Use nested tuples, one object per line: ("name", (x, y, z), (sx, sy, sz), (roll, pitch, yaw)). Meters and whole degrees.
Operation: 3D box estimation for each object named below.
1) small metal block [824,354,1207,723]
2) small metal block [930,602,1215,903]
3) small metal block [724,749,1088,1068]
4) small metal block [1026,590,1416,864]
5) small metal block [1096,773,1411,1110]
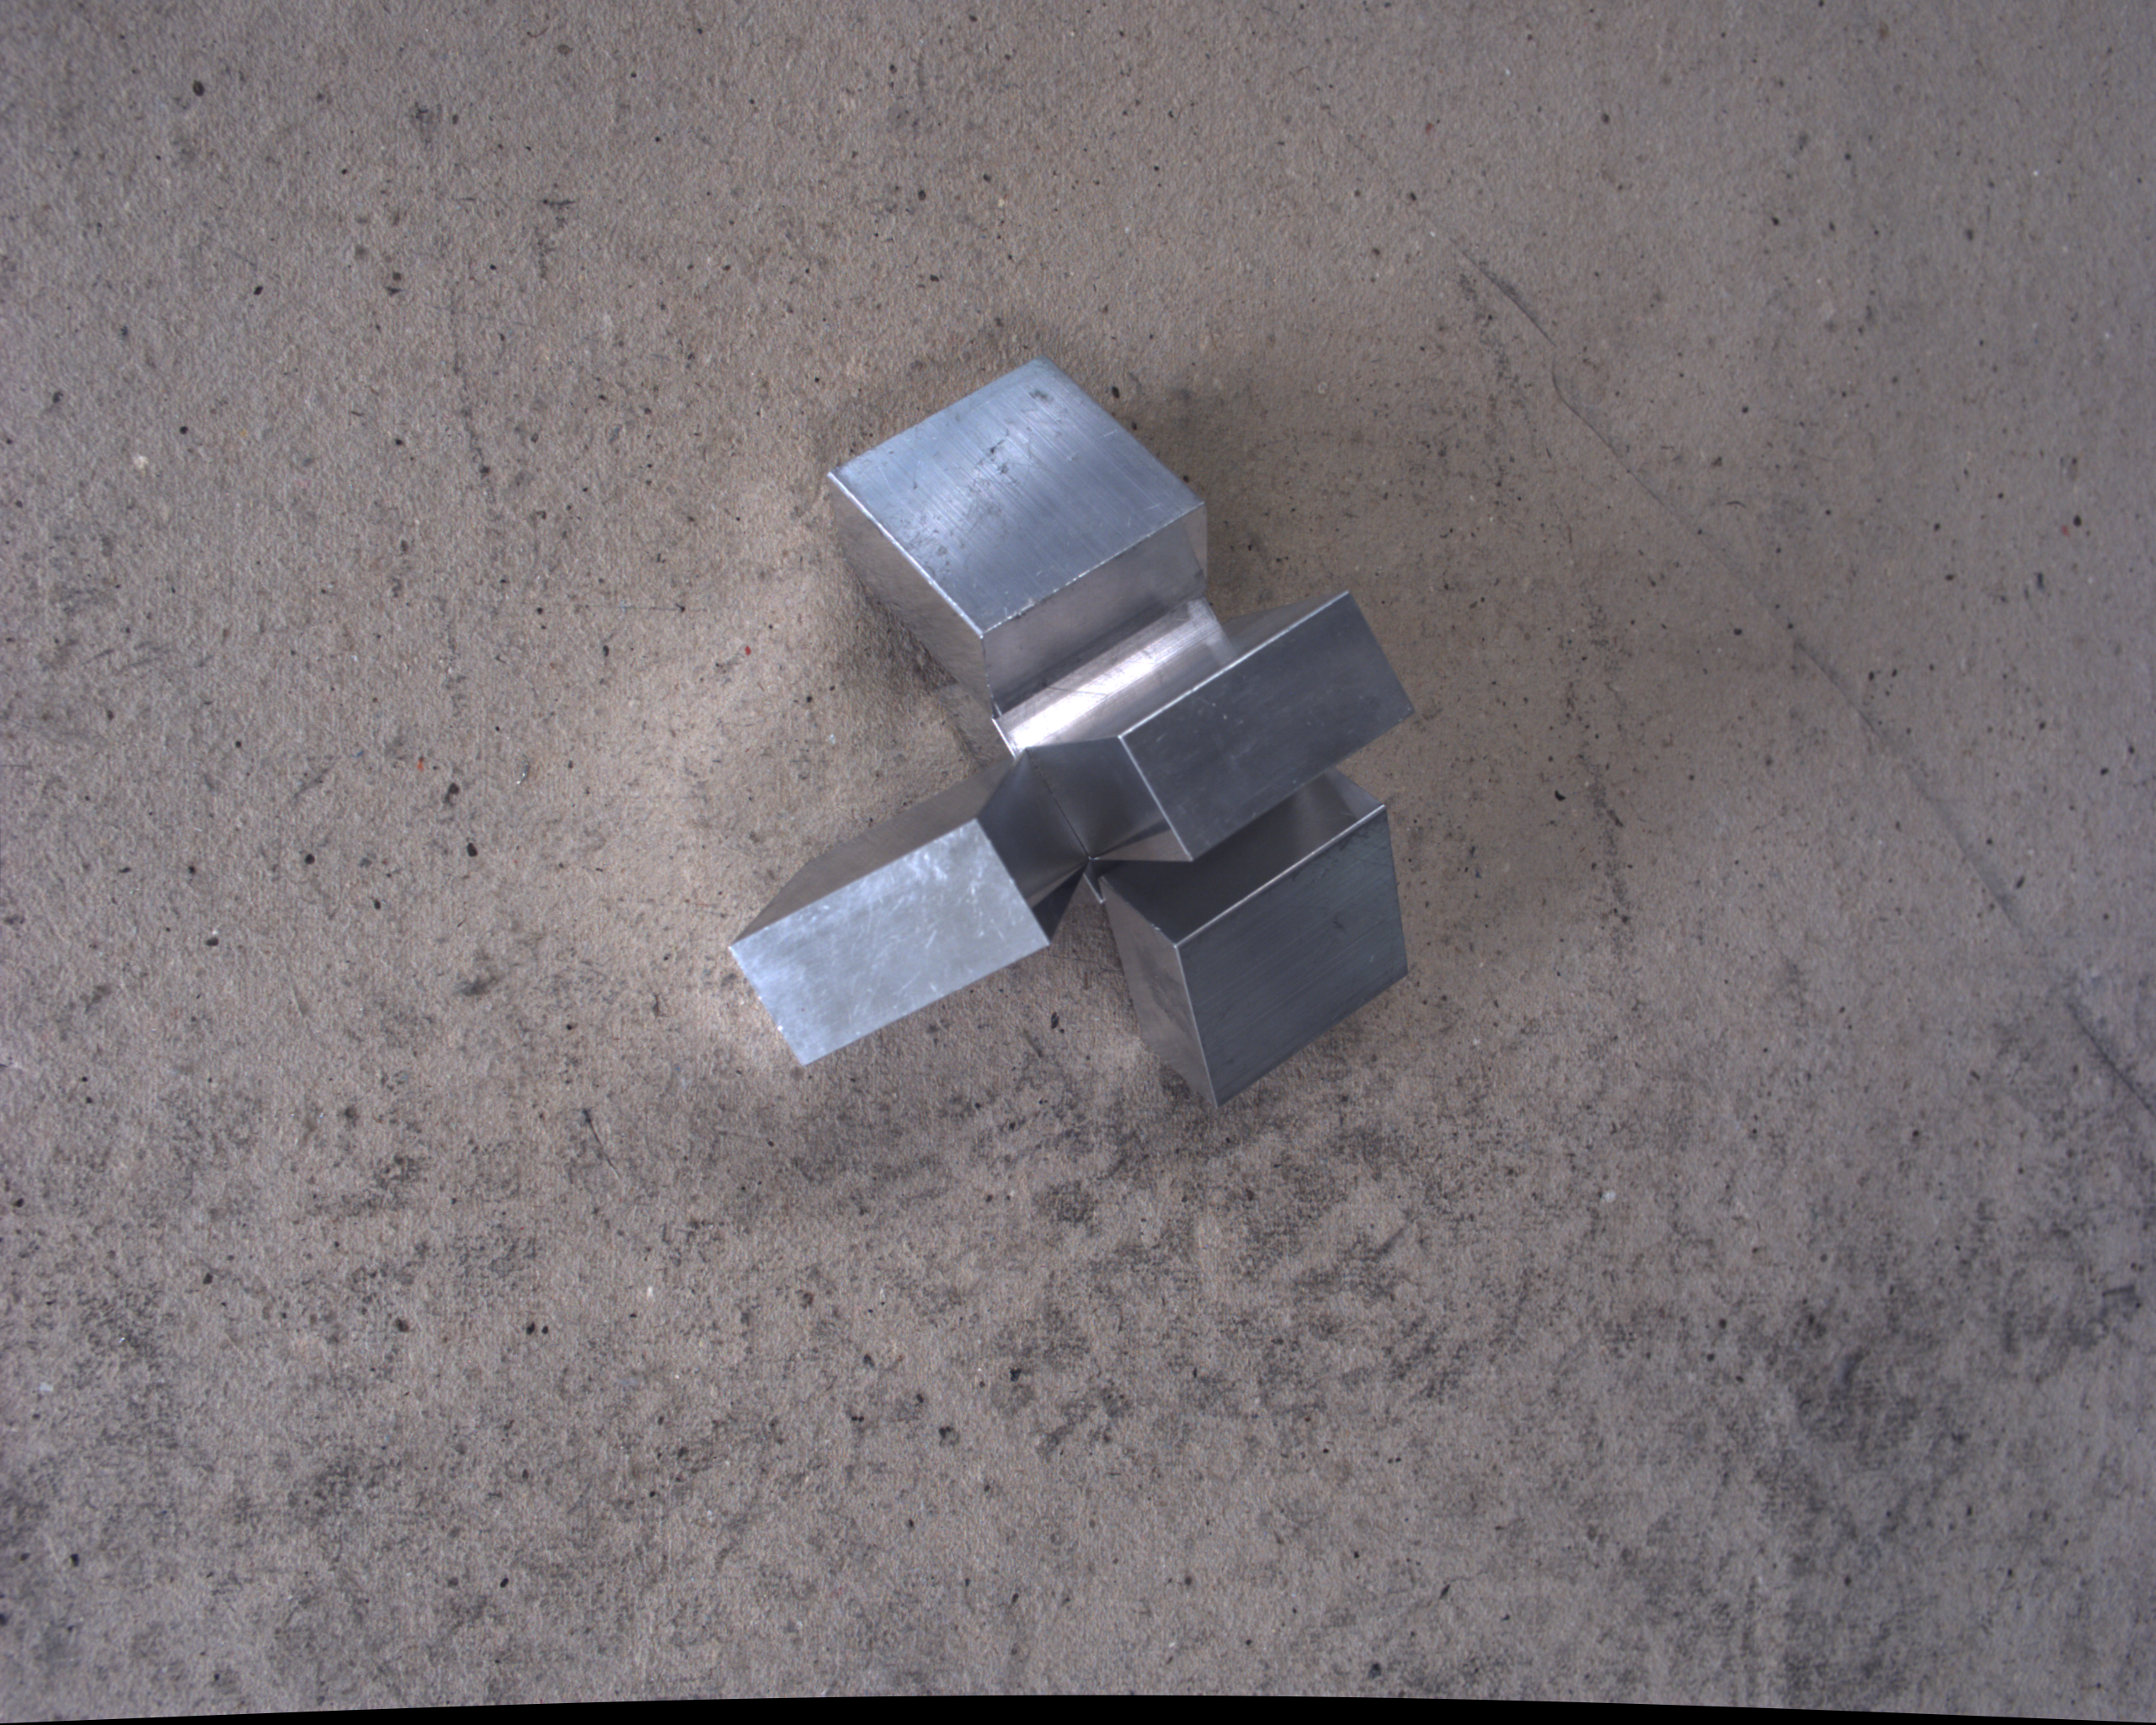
("small metal block", (-0.011, -0.062, 0.393), (0.050, 0.025, 0.050), (-33, 61, -17))
("small metal block", (0.007, -0.027, 0.413), (0.050, 0.025, 0.050), (-33, 101, -15))
("small metal block", (-0.029, 0.007, 0.376), (0.050, 0.050, 0.025), (-26, 101, 15))
("small metal block", (0.024, -0.024, 0.379), (0.050, 0.050, 0.025), (-33, 102, -17))
("small metal block", (0.036, 0.013, 0.410), (0.050, 0.025, 0.050), (-34, 137, -16))
